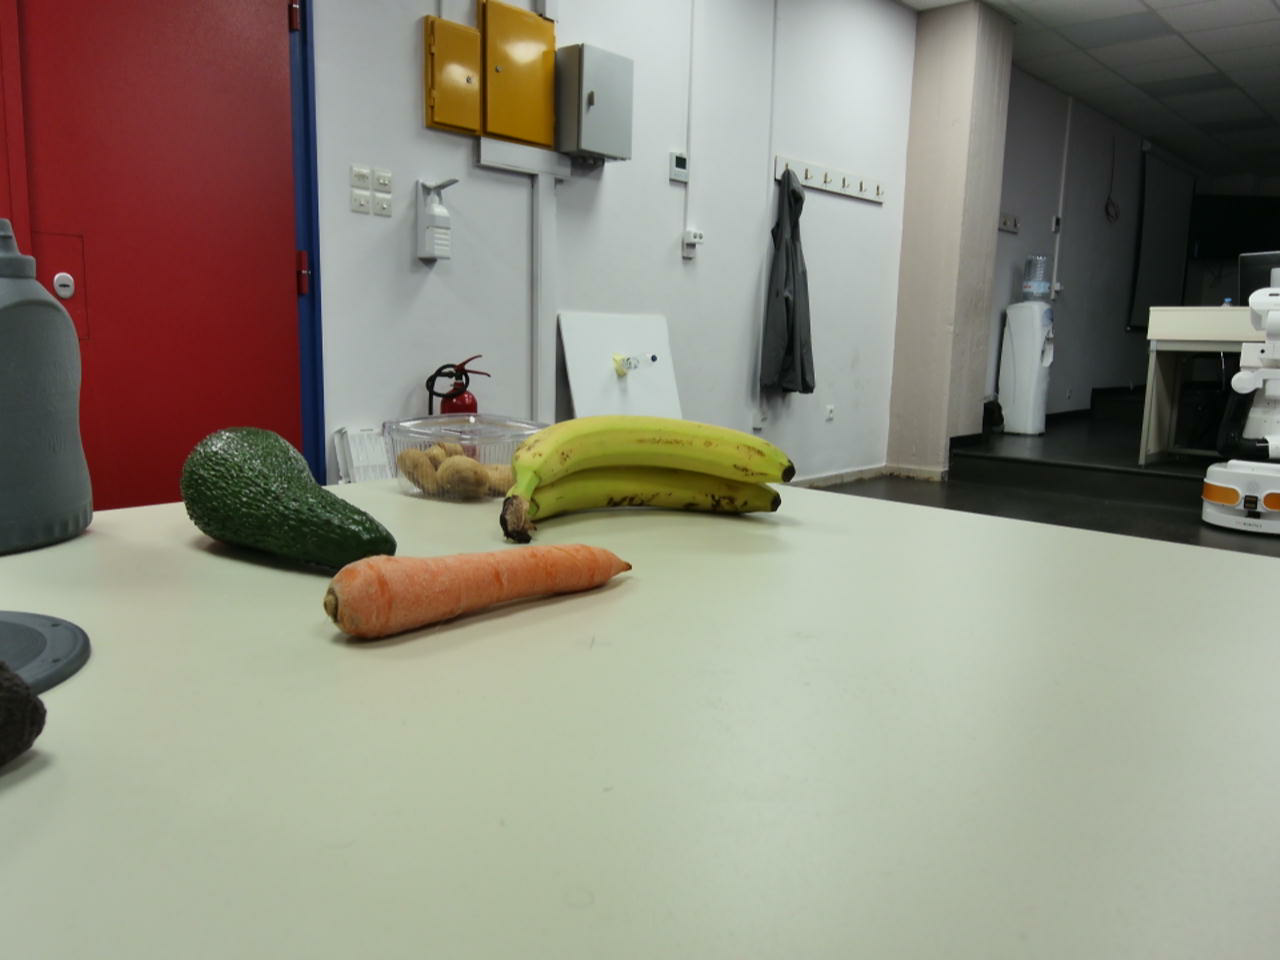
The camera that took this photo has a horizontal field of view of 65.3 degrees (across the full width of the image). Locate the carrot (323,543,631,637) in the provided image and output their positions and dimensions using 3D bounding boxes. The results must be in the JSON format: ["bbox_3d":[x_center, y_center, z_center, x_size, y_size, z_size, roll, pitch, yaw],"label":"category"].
[{"bbox_3d":[-0.076,0.049,0.530,0.039,0.041,0.196,6,10,42],"label":"carrot"}]
